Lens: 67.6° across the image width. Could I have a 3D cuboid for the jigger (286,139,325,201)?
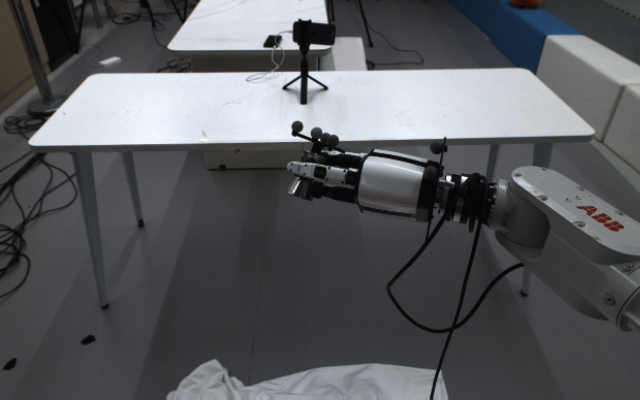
[{"bbox_3d":[-0.021,-0.039,0.719,0.043,0.071,0.043,22,6,-2],"label":"jigger"}]
